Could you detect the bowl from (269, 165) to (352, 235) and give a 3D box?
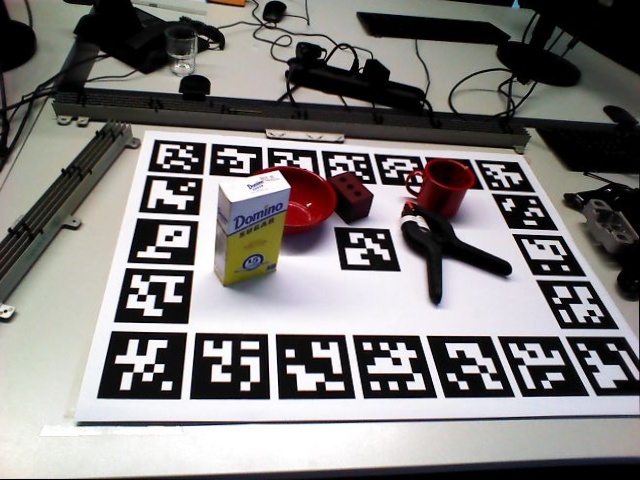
[{"bbox_3d":[-0.028,-0.060,0.894,0.162,0.055,0.160,6,45,-7],"label":"bowl"}]

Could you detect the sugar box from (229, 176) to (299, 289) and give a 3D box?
[{"bbox_3d":[-0.079,-0.008,0.749,0.092,0.177,0.045,-17,54,-27],"label":"sugar box"}]

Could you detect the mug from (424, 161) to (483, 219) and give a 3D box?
[{"bbox_3d":[0.251,-0.098,0.967,0.117,0.082,0.092,23,46,6],"label":"mug"}]

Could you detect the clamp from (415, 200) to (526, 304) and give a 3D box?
[{"bbox_3d":[0.229,0.006,0.888,0.165,0.037,0.202,-18,53,-23],"label":"clamp"}]

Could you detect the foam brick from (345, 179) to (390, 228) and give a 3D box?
[{"bbox_3d":[0.083,-0.070,0.938,0.052,0.051,0.078,-21,55,-27],"label":"foam brick"}]
